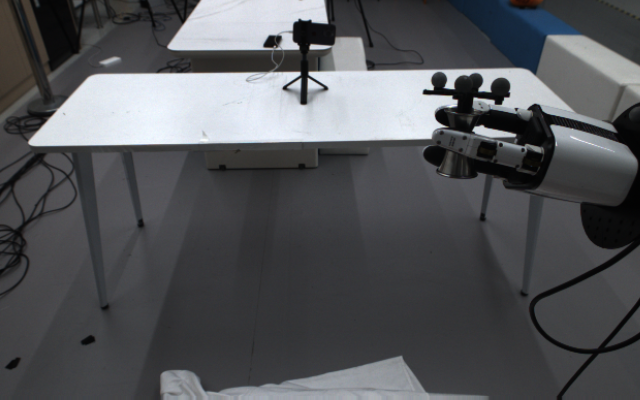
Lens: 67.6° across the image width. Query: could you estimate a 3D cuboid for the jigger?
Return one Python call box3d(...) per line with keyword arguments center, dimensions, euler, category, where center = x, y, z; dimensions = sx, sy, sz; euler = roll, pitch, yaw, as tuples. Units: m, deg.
box3d(center=(0.148, -0.062, 0.520), dimensions=(0.043, 0.071, 0.043), euler=(1, 20, 0), category="jigger")
